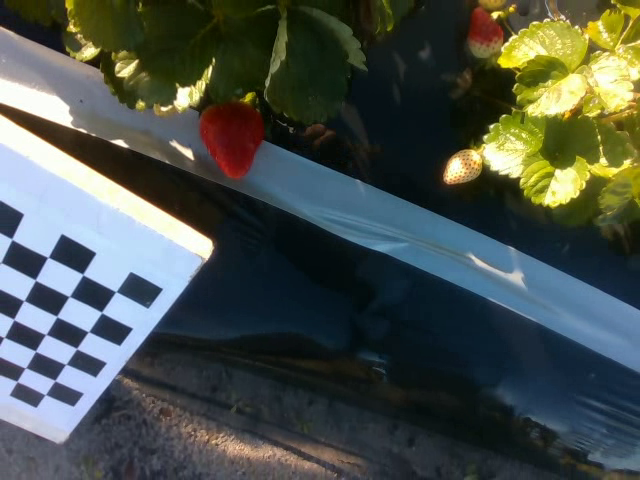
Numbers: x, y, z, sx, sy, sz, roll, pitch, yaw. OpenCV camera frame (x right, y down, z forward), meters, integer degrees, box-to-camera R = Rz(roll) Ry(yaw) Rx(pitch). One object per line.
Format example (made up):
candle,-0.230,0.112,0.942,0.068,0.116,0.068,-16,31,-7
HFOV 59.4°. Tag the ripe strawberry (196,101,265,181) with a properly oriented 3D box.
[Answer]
ripe strawberry,-0.057,-0.065,0.364,0.045,0.064,0.048,-22,-31,23
